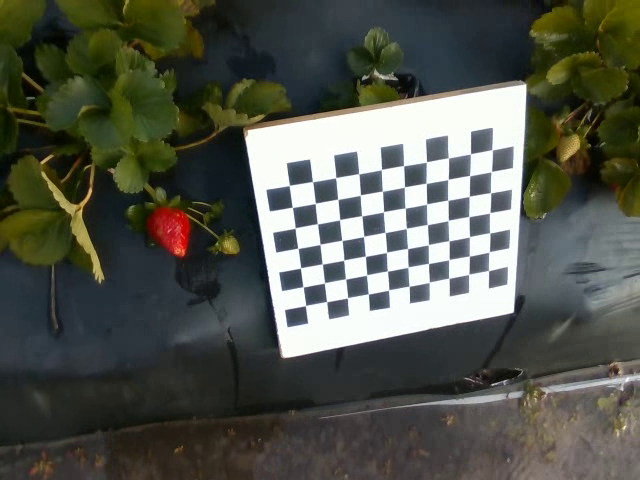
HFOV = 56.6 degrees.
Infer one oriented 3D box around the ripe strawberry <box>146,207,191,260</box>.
[{"bbox_3d":[-0.150,-0.005,0.604,0.043,0.057,0.052,-31,-34,8],"label":"ripe strawberry"}]
